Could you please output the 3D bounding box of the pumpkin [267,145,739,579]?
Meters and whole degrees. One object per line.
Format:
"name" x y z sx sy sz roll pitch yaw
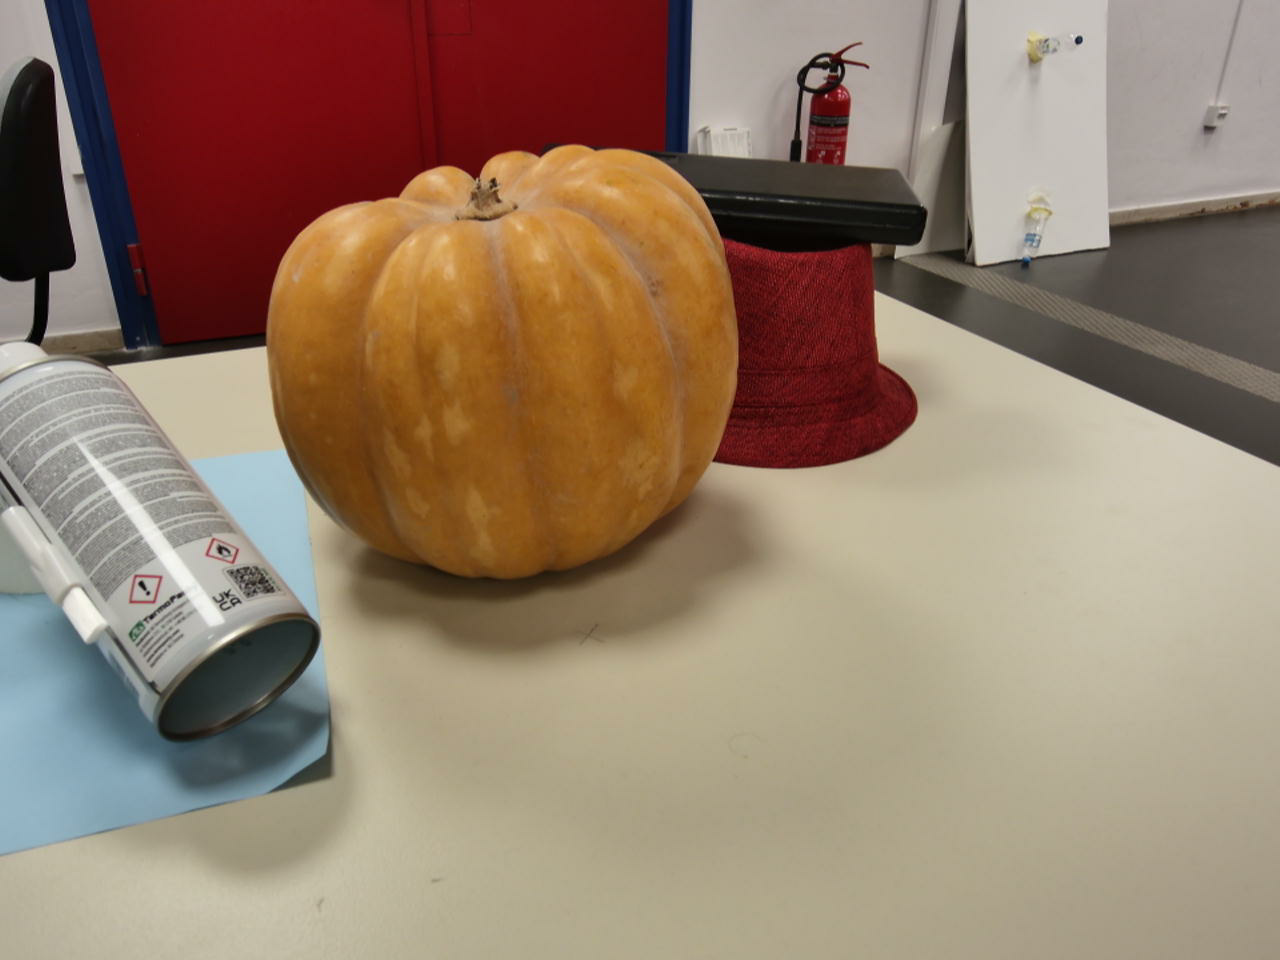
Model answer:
"pumpkin" -0.061 -0.058 0.490 0.230 0.194 0.230 1 26 0
